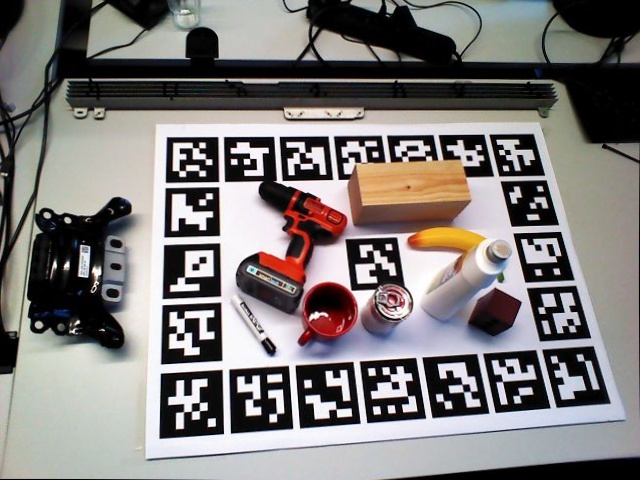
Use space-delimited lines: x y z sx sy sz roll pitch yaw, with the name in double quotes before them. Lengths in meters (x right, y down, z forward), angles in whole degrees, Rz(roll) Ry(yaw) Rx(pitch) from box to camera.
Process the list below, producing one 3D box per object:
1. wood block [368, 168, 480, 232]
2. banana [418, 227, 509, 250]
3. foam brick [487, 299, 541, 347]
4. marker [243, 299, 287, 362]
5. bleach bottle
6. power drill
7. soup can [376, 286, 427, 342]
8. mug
"wood block" 0.198 -0.076 0.970 0.206 0.091 0.089 -2 69 -8
"banana" 0.281 0.013 0.966 0.197 0.039 0.074 14 80 -3
"foam brick" 0.337 0.144 0.901 0.053 0.078 0.051 30 65 8
"marker" -0.092 0.154 0.879 0.019 0.020 0.121 -31 75 -15
"bleach bottle" 0.266 0.068 0.829 0.068 0.252 0.102 26 65 5
"power drill" -0.032 0.010 0.929 0.185 0.057 0.186 27 66 1
"soup can" 0.136 0.125 0.864 0.068 0.102 0.067 3 63 -7
"mug" 0.027 0.137 0.862 0.093 0.082 0.116 40 71 8
